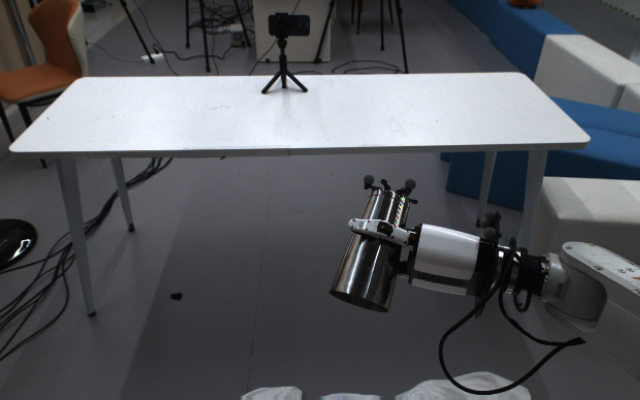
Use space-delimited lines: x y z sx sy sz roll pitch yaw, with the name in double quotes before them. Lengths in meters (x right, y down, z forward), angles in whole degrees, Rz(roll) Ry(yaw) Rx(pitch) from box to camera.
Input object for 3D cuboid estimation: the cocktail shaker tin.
"cocktail shaker tin" 0.081 0.072 0.731 0.093 0.093 0.170 14 70 17
